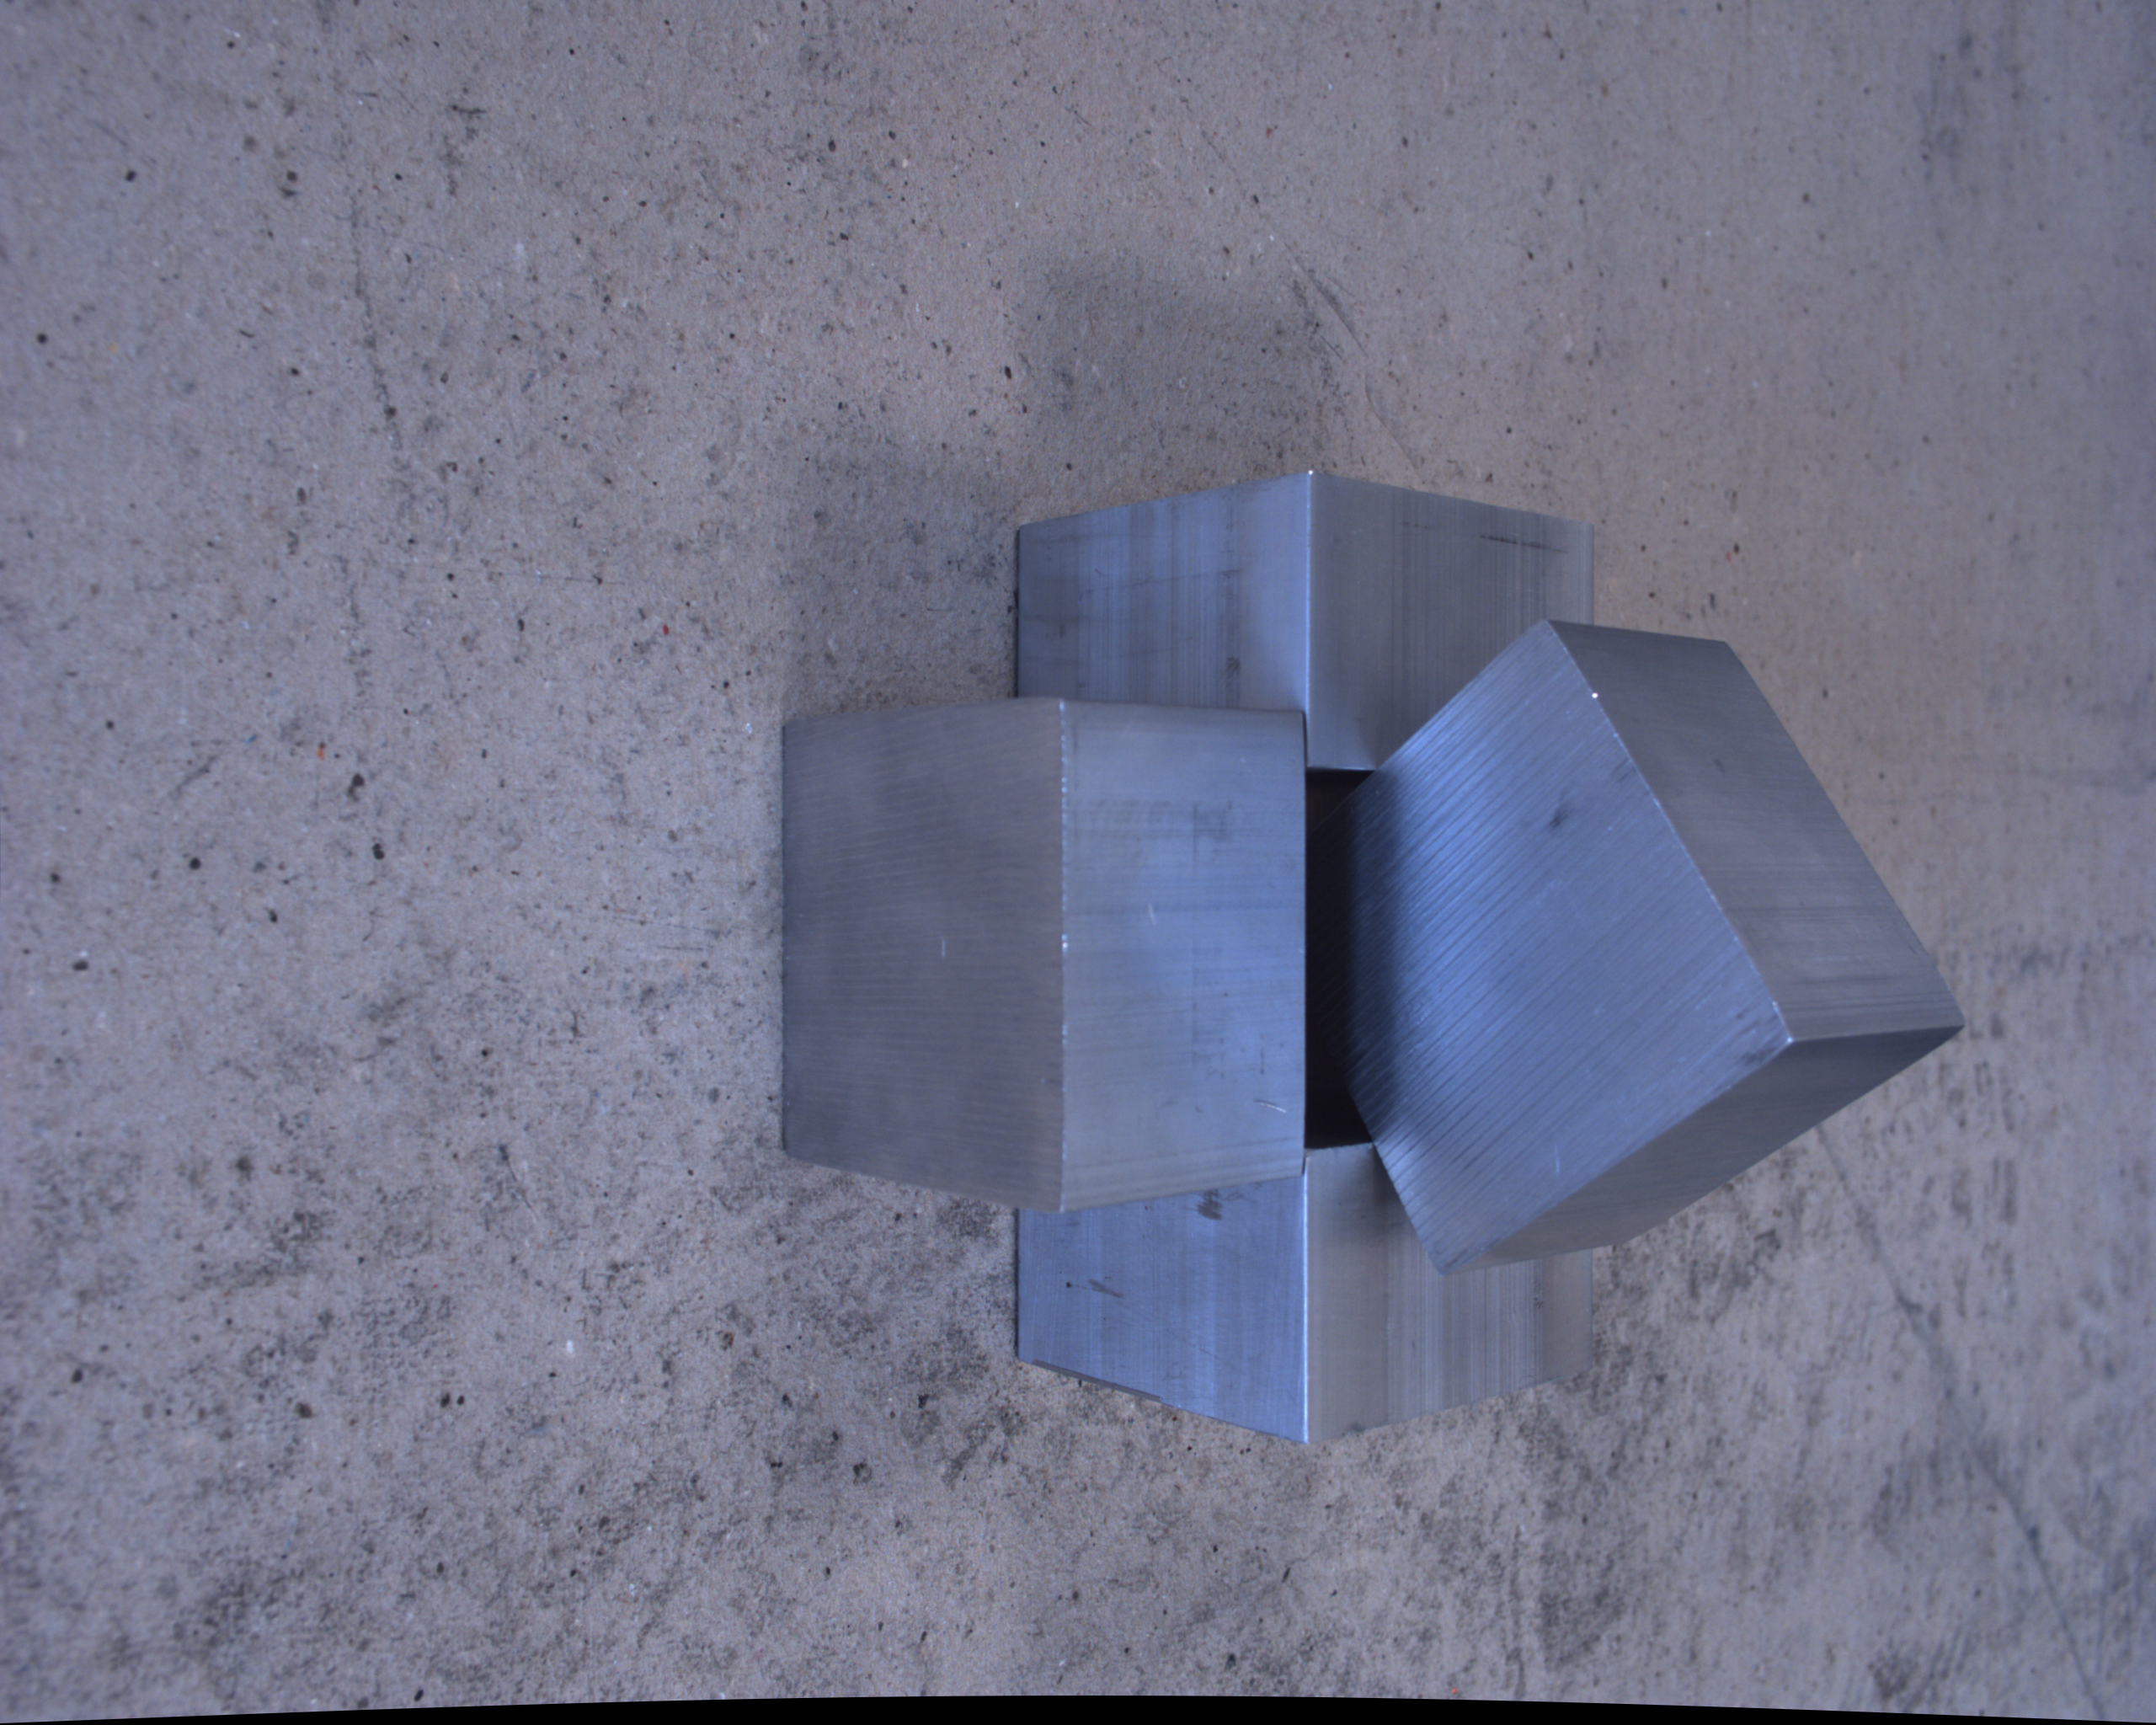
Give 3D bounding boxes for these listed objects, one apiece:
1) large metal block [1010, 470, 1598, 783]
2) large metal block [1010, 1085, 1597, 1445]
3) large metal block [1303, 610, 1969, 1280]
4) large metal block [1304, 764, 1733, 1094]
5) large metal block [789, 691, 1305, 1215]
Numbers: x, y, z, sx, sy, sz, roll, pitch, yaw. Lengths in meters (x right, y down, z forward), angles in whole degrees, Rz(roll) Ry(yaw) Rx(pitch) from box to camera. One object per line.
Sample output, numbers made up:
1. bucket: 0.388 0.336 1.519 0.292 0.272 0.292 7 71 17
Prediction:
1. large metal block: 0.043 -0.041 0.407 0.081 0.080 0.050 1 90 -40
2. large metal block: 0.043 0.073 0.407 0.081 0.080 0.050 0 90 -40
3. large metal block: 0.087 0.015 0.358 0.050 0.080 0.080 1 55 -40
4. large metal block: 0.094 0.021 0.449 0.050 0.080 0.080 1 89 -40
5. large metal block: -0.007 0.014 0.363 0.050 0.080 0.080 0 90 -40
